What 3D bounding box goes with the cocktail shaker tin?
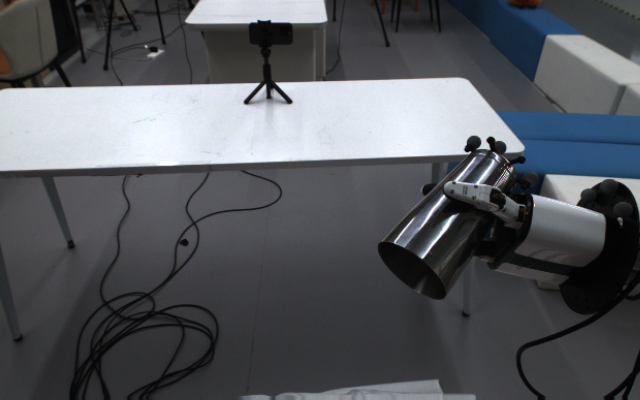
[{"bbox_3d":[0.156,0.017,0.562,0.093,0.093,0.170,32,67,35],"label":"cocktail shaker tin"}]
